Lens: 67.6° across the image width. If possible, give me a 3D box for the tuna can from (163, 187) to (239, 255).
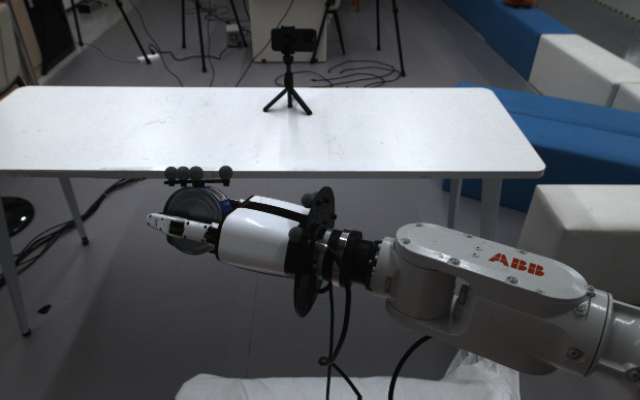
[{"bbox_3d":[-0.152,0.025,0.612,0.085,0.085,0.034,15,9,18],"label":"tuna can"}]
